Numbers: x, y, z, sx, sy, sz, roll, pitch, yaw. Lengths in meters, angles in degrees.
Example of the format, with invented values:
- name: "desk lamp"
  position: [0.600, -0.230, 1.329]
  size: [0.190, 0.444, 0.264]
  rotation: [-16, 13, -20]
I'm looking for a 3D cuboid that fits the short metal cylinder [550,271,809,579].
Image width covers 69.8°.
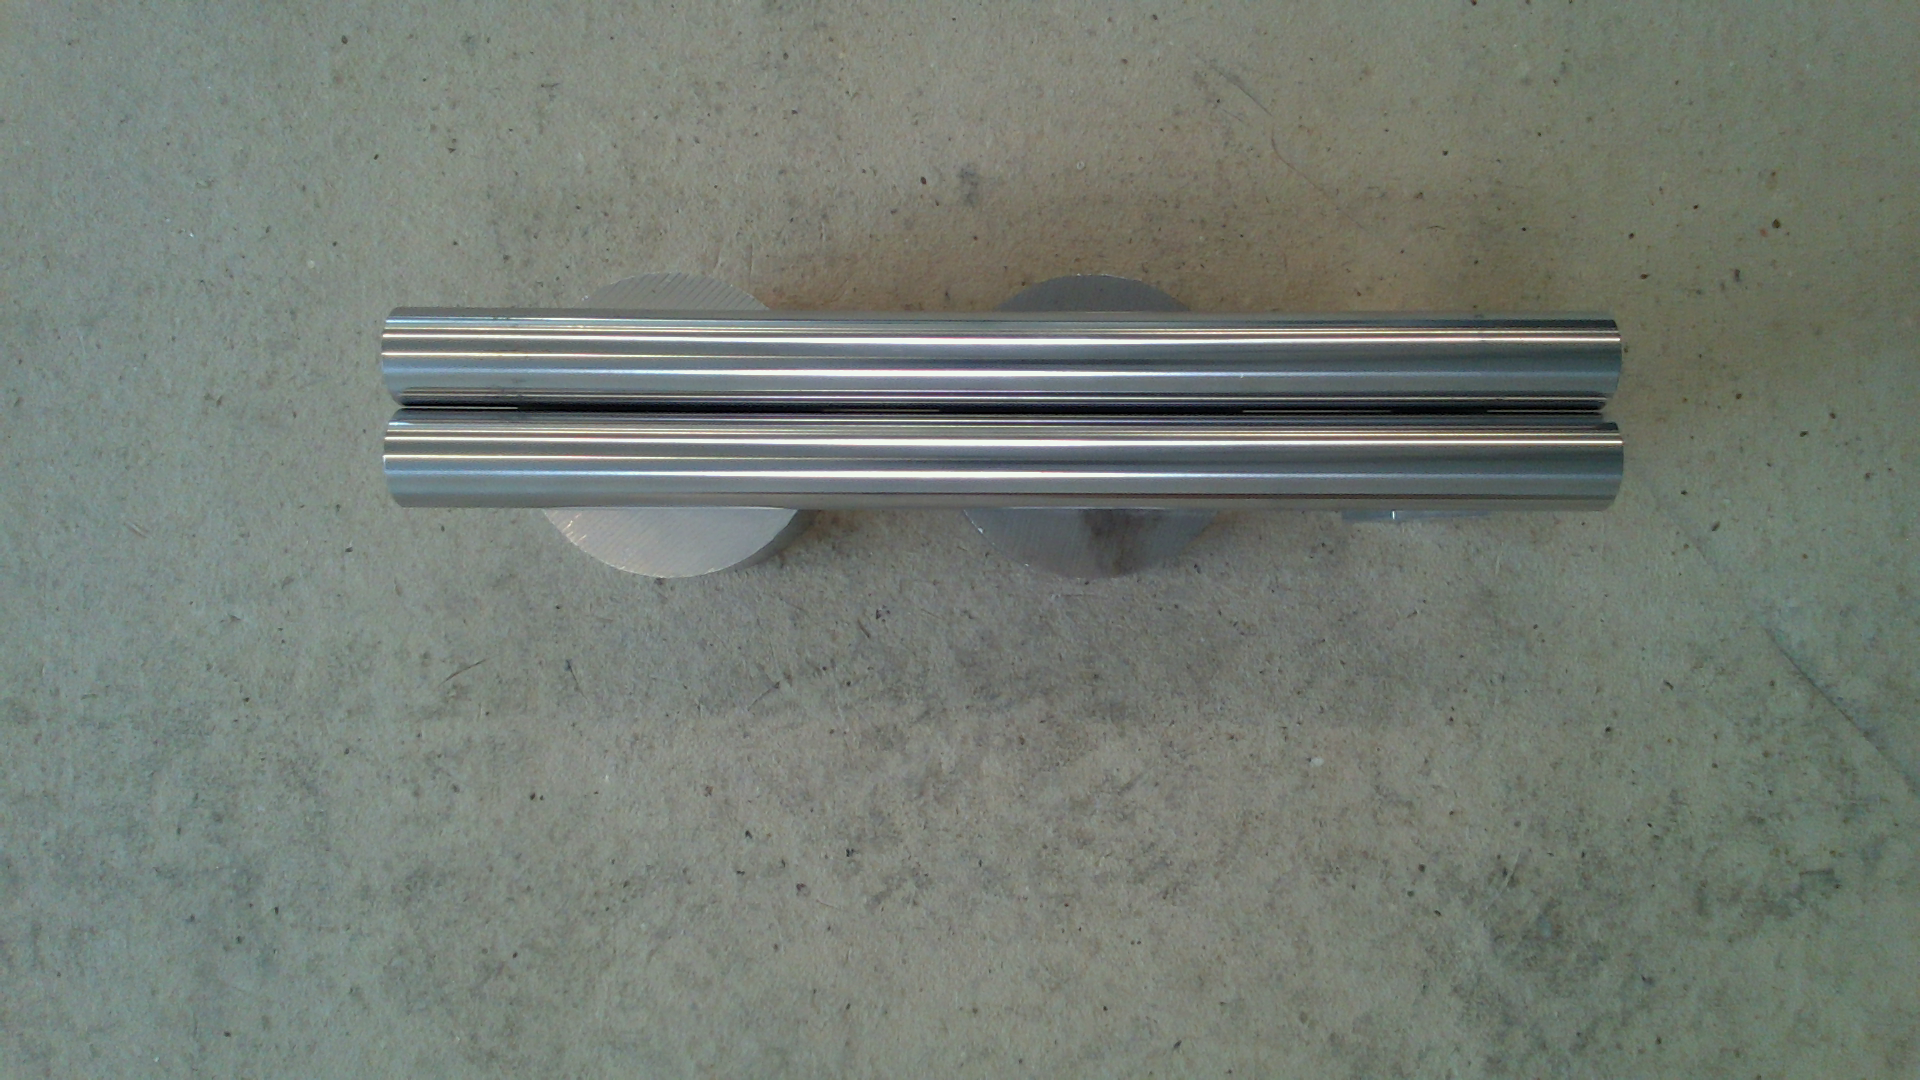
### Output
- name: "short metal cylinder"
  position: [-0.076, -0.030, 0.382]
  size: [0.080, 0.050, 0.080]
  rotation: [0, 90, 0]

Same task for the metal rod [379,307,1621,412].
- name: "metal rod"
  position: [0.010, -0.045, 0.345]
  size: [0.300, 0.025, 0.025]
  rotation: [0, 90, 0]

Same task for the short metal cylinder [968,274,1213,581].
- name: "short metal cylinder"
  position: [0.034, -0.029, 0.383]
  size: [0.080, 0.050, 0.080]
  rotation: [0, 90, 0]

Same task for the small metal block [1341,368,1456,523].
- name: "small metal block"
  position: [0.125, -0.031, 0.385]
  size: [0.025, 0.050, 0.050]
  rotation: [-2, 90, 0]

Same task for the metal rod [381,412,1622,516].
- name: "metal rod"
  position: [0.010, -0.019, 0.345]
  size: [0.300, 0.025, 0.025]
  rotation: [0, 90, 0]
